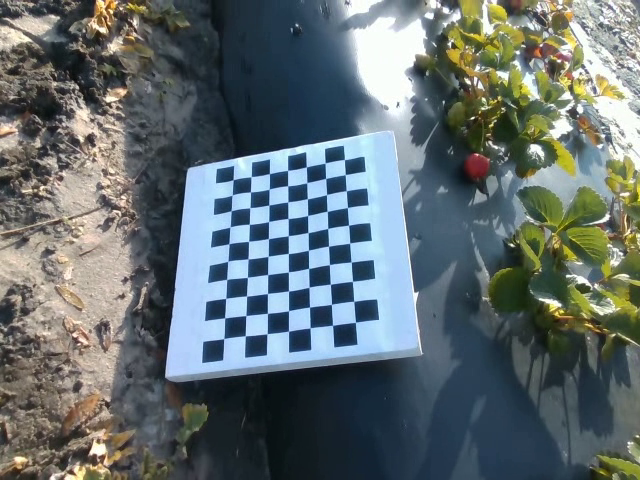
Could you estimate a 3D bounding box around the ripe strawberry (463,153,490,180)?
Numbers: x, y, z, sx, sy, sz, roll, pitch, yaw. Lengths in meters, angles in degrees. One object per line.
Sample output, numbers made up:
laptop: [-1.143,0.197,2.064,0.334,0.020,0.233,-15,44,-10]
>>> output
ripe strawberry: [0.184,-0.084,0.717,0.030,0.033,0.044,16,34,28]
